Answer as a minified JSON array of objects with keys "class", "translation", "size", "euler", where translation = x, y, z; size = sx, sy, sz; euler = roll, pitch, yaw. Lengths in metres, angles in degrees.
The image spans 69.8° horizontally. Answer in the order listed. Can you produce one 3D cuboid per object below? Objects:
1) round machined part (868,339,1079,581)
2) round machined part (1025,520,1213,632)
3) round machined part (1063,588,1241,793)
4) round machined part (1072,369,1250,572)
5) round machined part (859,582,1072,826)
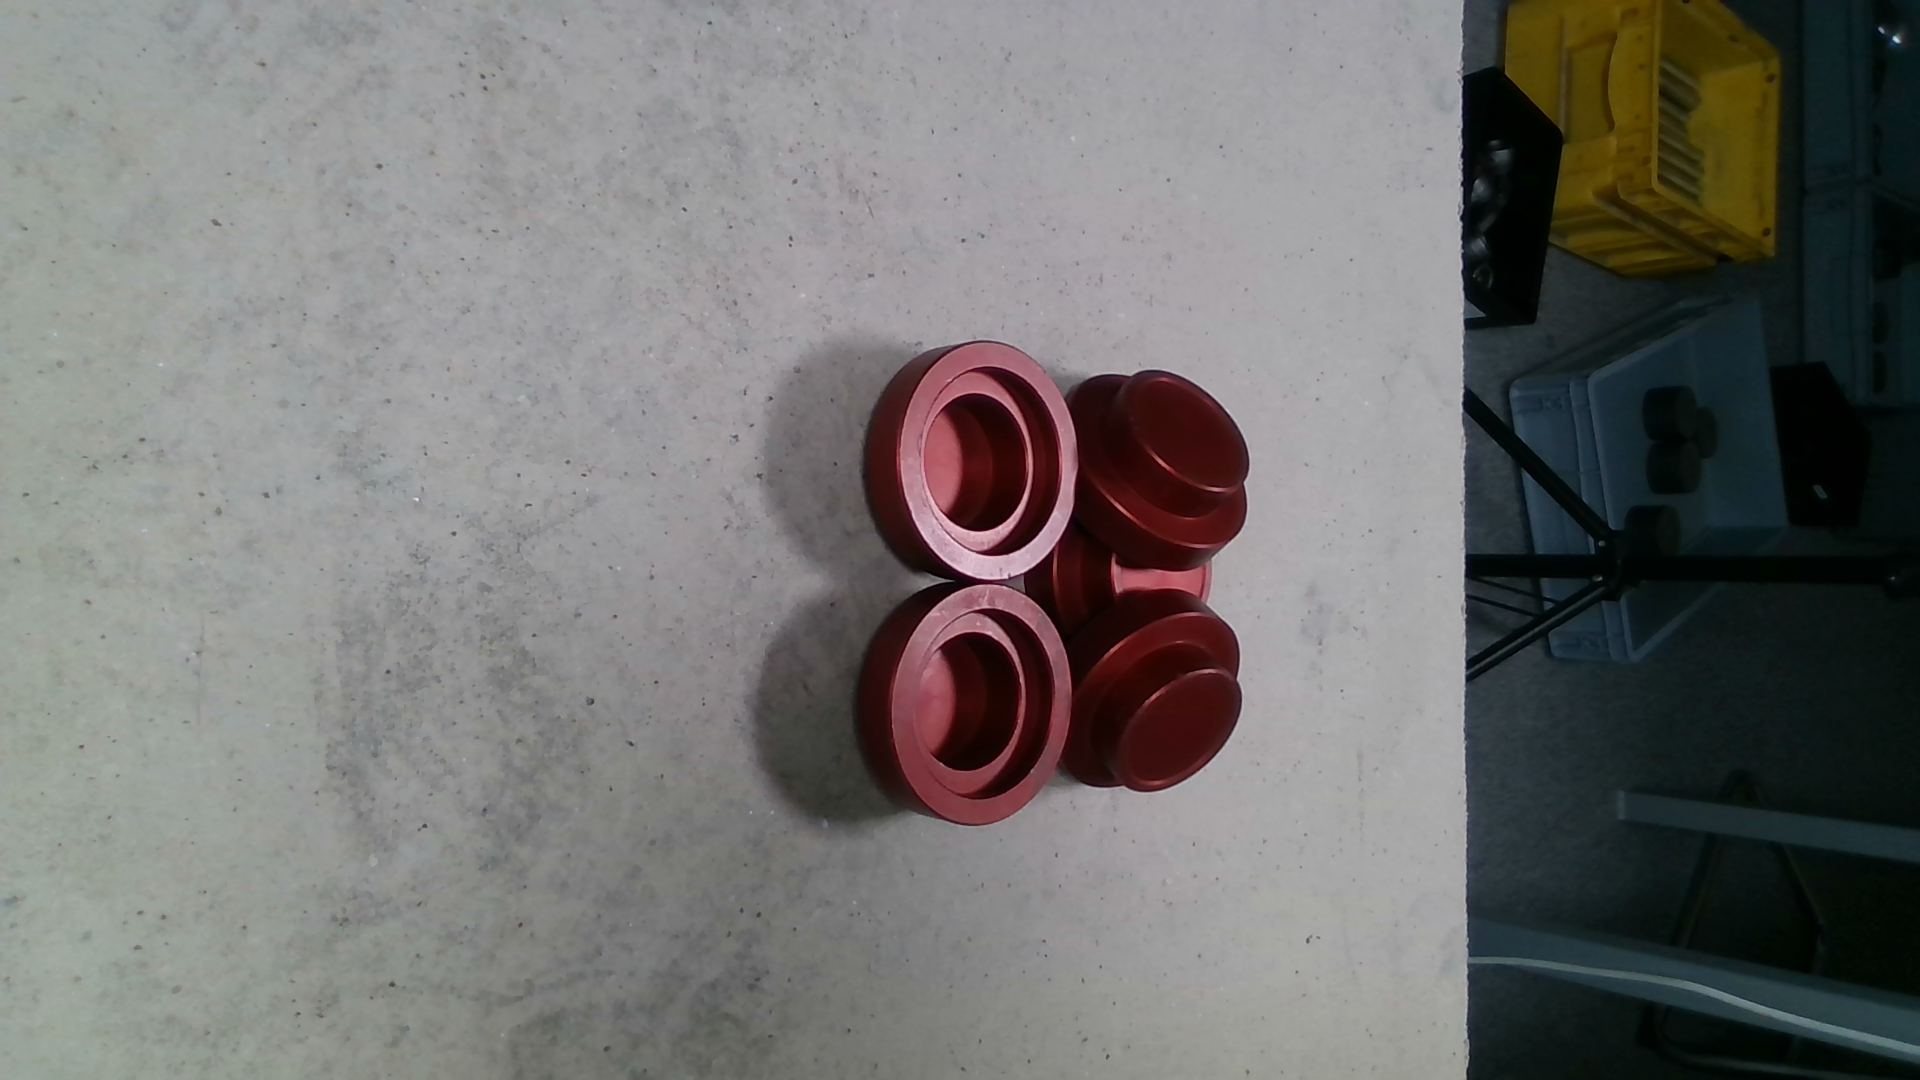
[{"class":"round machined part","translation":[0.001,-0.032,0.572],"size":[0.098,0.042,0.098],"euler":[0,90,-40]},{"class":"round machined part","translation":[0.080,0.014,0.639],"size":[0.098,0.042,0.098],"euler":[0,90,-40]},{"class":"round machined part","translation":[0.086,0.074,0.617],"size":[0.098,0.042,0.098],"euler":[-18,130,-23]},{"class":"round machined part","translation":[0.090,-0.037,0.617],"size":[0.098,0.042,0.098],"euler":[20,47,-23]},{"class":"round machined part","translation":[-0.003,0.066,0.570],"size":[0.098,0.042,0.098],"euler":[0,90,-40]}]
